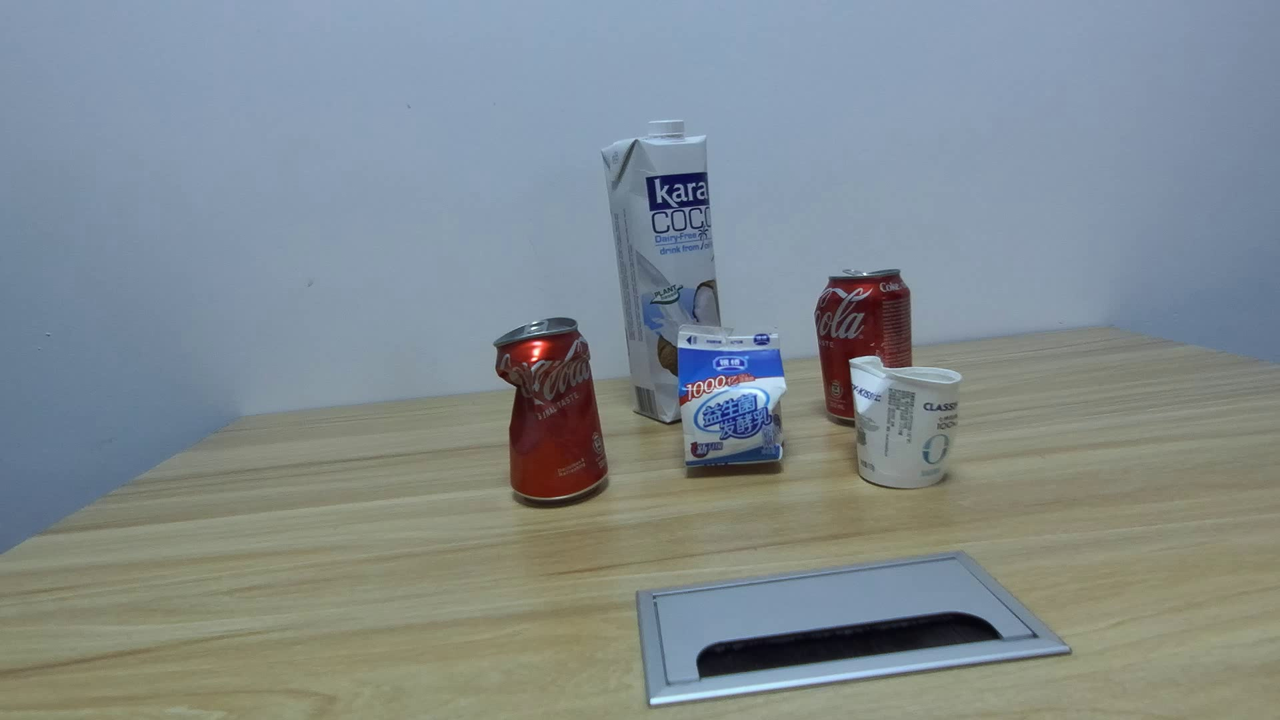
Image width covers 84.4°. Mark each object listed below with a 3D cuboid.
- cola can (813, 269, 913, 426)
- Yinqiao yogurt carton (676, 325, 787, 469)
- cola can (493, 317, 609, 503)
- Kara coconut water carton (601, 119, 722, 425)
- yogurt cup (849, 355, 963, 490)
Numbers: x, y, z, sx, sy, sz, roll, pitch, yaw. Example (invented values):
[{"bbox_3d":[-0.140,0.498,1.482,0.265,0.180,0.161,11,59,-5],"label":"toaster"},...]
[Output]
[{"bbox_3d":[0.177,-0.011,0.552,0.072,0.117,0.065,-7,13,-4],"label":"cola can"},{"bbox_3d":[0.064,0.022,0.488,0.074,0.097,0.080,-4,7,4],"label":"Yinqiao yogurt carton"},{"bbox_3d":[-0.058,0.032,0.465,0.065,0.112,0.069,4,16,39],"label":"cola can"},{"bbox_3d":[0.024,-0.075,0.604,0.077,0.245,0.075,-13,13,-26],"label":"Kara coconut water carton"},{"bbox_3d":[0.162,0.036,0.438,0.075,0.071,0.054,6,17,37],"label":"yogurt cup"}]
